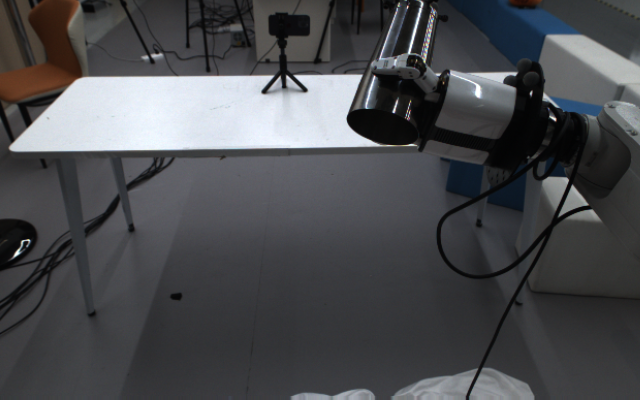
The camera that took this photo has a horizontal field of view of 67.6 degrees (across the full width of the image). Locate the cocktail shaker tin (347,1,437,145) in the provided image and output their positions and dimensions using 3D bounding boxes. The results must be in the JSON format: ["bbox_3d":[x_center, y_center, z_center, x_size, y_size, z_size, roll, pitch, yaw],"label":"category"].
[{"bbox_3d":[0.102,-0.167,0.622,0.093,0.093,0.170,13,73,15],"label":"cocktail shaker tin"}]
